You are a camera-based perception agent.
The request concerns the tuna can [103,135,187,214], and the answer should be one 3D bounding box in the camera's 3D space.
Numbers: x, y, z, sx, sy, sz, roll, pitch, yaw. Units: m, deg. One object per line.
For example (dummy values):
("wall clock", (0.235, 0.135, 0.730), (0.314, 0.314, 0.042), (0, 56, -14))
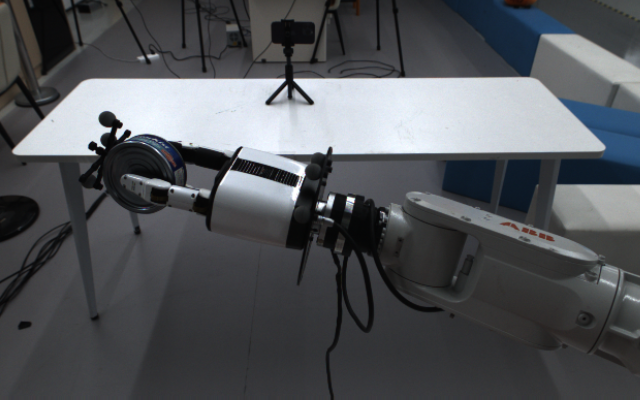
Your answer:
("tuna can", (-0.195, -0.029, 0.542), (0.085, 0.085, 0.034), (6, 20, 5))
